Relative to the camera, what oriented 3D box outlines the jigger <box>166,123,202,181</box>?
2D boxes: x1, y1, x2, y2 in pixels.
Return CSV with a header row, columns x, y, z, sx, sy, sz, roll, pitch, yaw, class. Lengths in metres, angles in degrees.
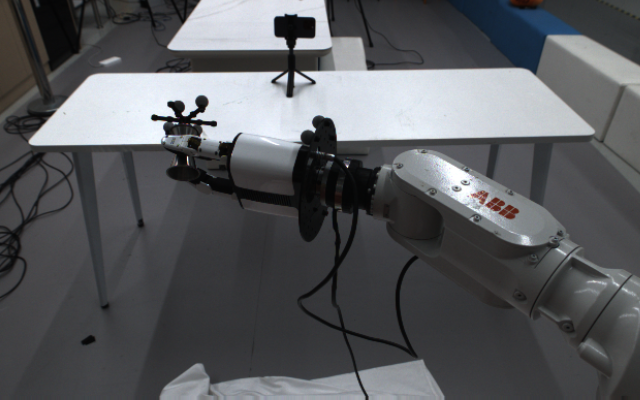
x,y,z,sx,sy,sz,roll,pitch,yaw,class
-0.188,-0.065,0.663,0.043,0.043,0.071,-3,66,-7,jigger
